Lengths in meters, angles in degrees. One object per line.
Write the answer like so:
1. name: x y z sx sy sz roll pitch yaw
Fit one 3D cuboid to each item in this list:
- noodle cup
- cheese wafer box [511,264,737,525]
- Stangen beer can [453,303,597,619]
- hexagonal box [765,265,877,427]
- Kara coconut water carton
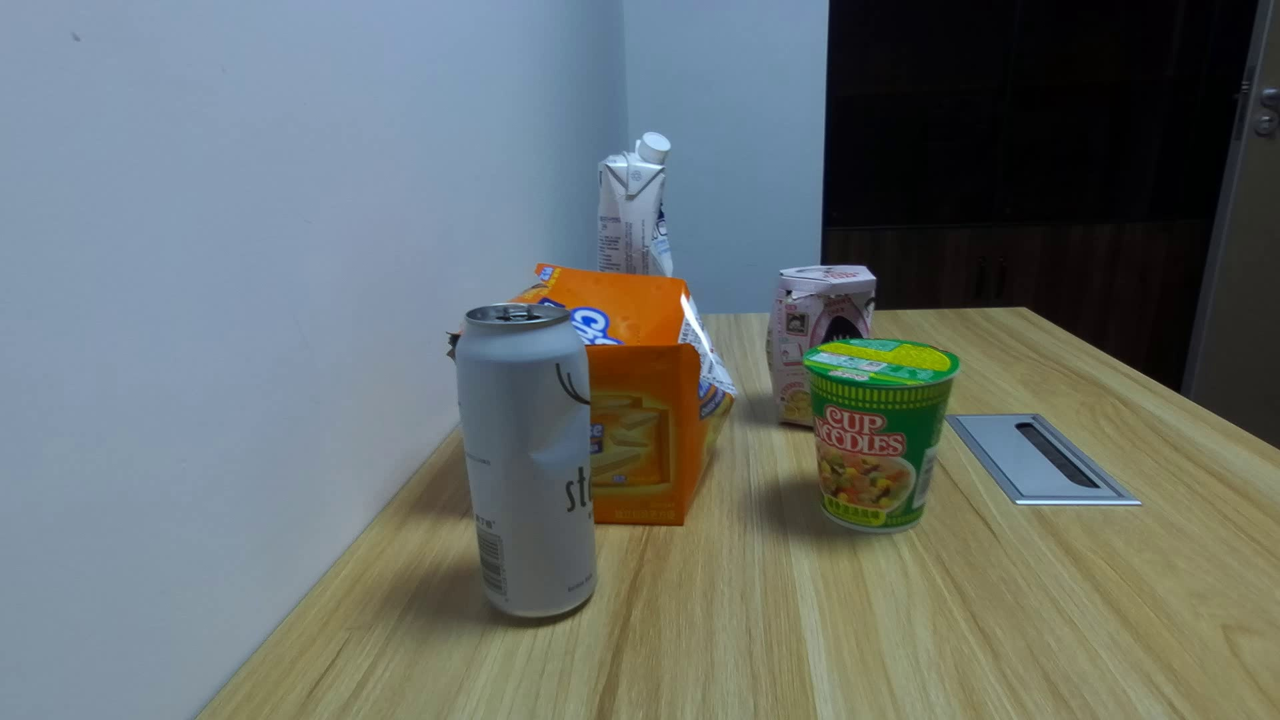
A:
1. noodle cup: 0.156 0.050 0.466 0.097 0.110 0.097 -4 17 1
2. cheese wafer box: -0.019 0.011 0.562 0.191 0.145 0.219 0 18 7
3. Stangen beer can: -0.058 0.053 0.389 0.069 0.173 0.070 0 18 6
4. hexagonal box: 0.162 -0.014 0.634 0.091 0.134 0.090 3 17 18
5. Kara coconut water carton: -0.005 -0.096 0.717 0.078 0.255 0.083 2 18 10
